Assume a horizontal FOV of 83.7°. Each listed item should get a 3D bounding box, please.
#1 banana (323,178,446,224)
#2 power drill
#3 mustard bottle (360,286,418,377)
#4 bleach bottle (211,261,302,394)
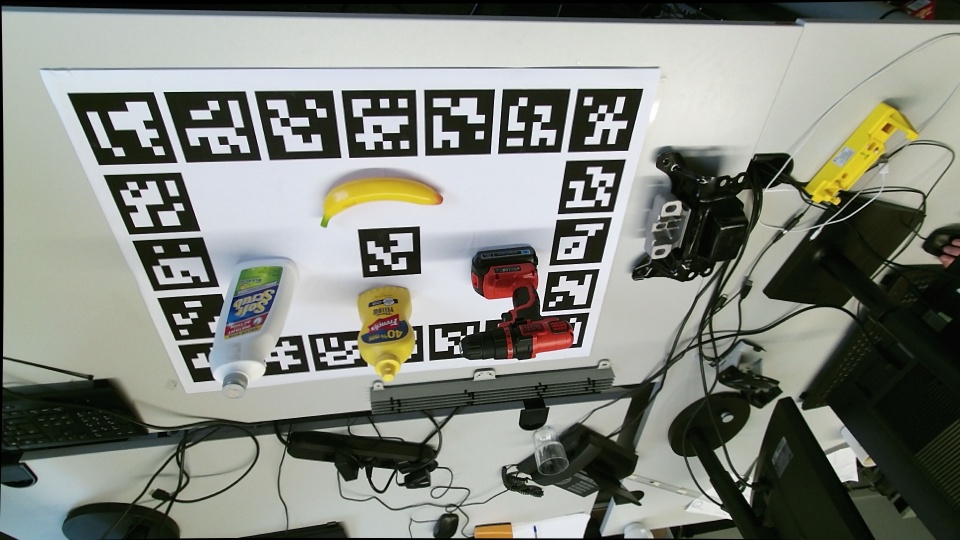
[{"bbox_3d":[-0.152,-0.106,0.828,0.198,0.038,0.074,-9,125,-8],"label":"banana"},{"bbox_3d":[0.040,0.073,0.879,0.185,0.186,0.057,-10,127,-9],"label":"power drill"},{"bbox_3d":[-0.154,0.105,0.900,0.096,0.190,0.058,-9,127,-3],"label":"mustard bottle"},{"bbox_3d":[-0.335,0.083,0.807,0.103,0.249,0.068,3,125,-14],"label":"bleach bottle"}]
